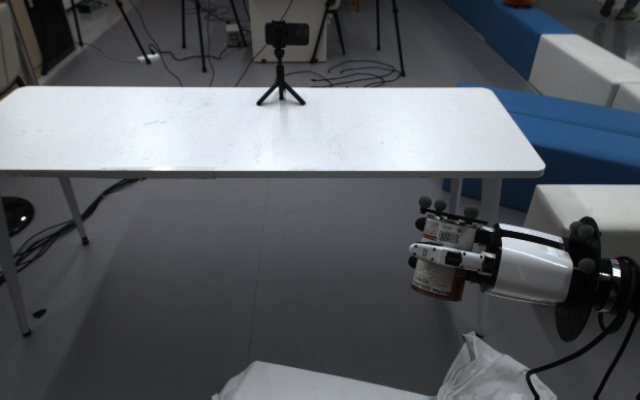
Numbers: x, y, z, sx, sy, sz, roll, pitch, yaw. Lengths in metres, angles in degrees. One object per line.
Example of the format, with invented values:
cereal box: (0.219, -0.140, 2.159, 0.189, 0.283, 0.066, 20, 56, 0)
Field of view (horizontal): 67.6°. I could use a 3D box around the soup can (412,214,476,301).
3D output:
soup can: (0.167, 0.075, 0.644, 0.067, 0.101, 0.067, 12, 2, 0)
